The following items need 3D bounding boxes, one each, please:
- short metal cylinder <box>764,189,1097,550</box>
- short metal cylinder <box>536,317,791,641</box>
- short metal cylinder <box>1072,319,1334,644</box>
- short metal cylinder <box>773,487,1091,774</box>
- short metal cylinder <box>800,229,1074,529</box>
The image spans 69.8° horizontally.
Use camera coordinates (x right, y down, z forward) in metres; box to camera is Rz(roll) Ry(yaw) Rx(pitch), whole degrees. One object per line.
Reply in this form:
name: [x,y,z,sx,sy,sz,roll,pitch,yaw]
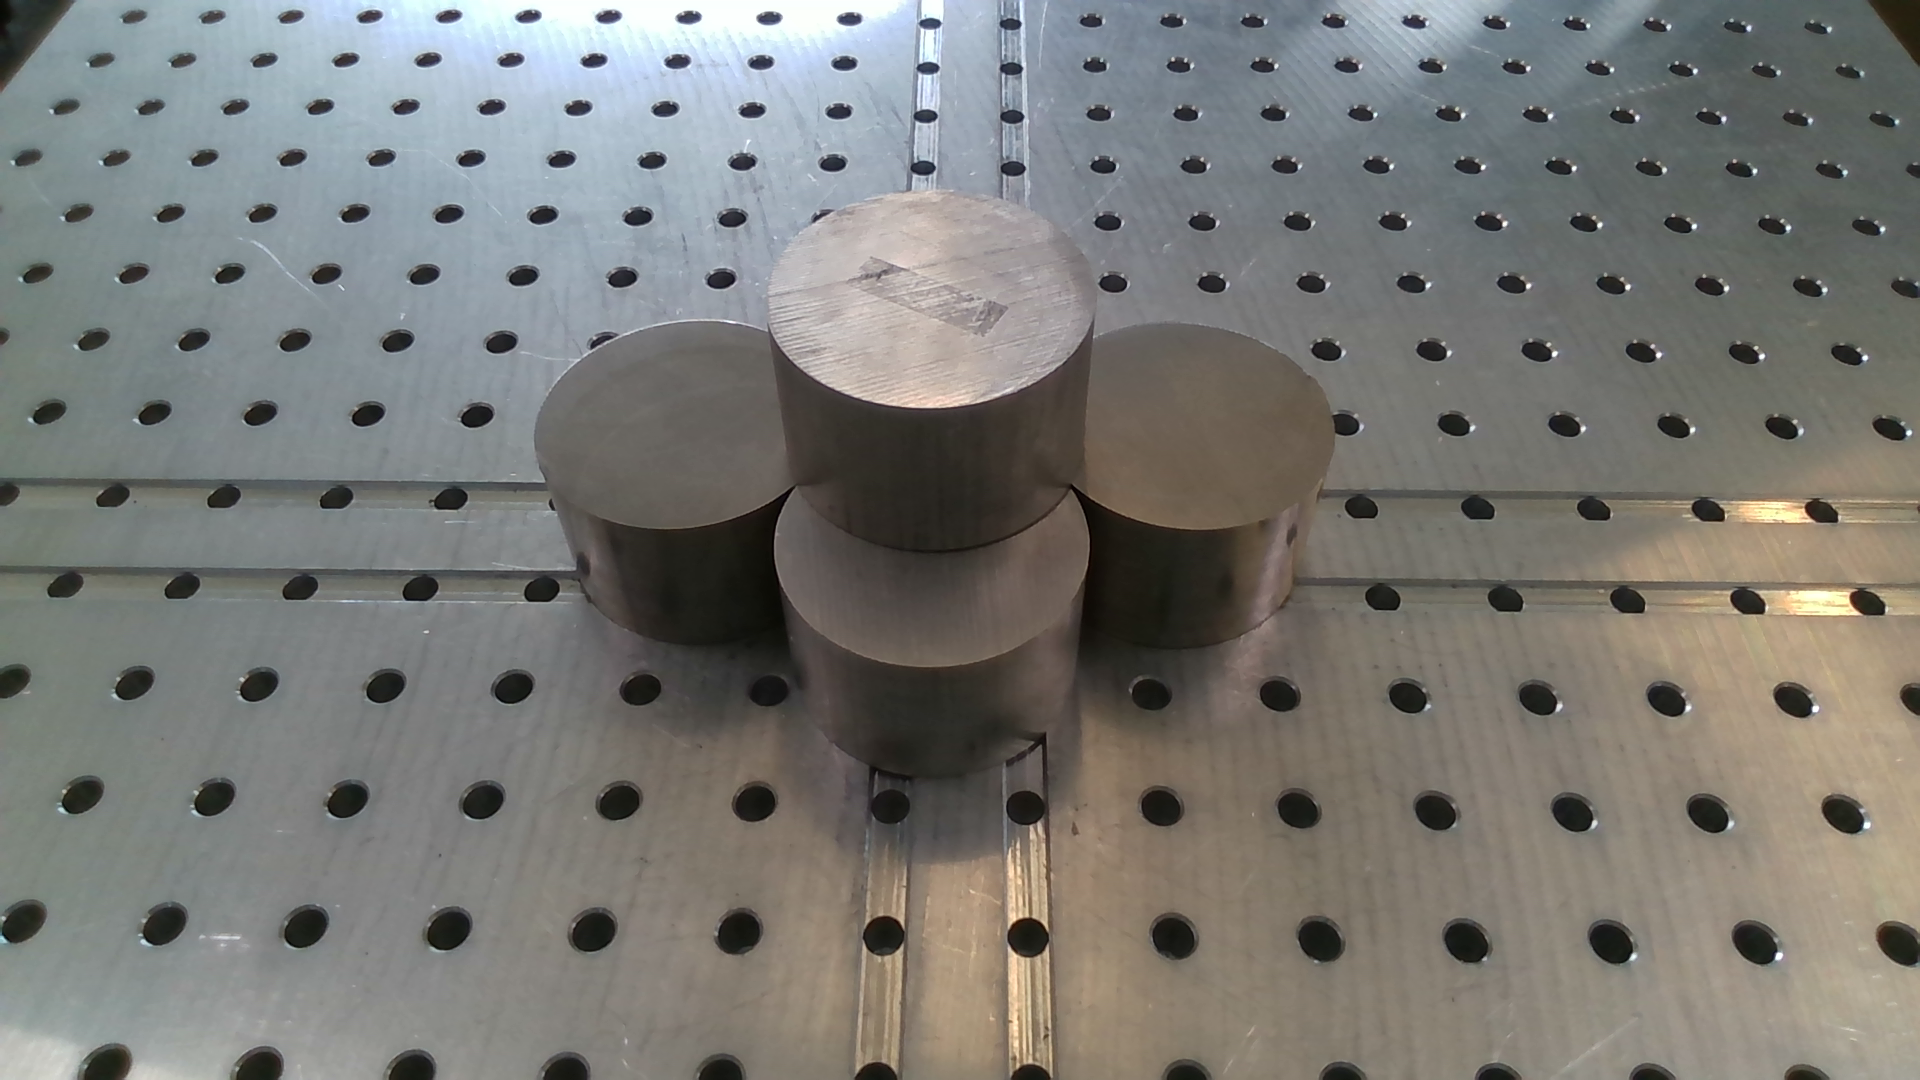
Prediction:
short metal cylinder: [-0.007,-0.044,0.351,0.080,0.050,0.080,0,50,0]
short metal cylinder: [-0.075,-0.018,0.395,0.080,0.050,0.080,1,50,-2]
short metal cylinder: [0.061,-0.018,0.394,0.080,0.050,0.080,0,51,0]
short metal cylinder: [-0.007,0.015,0.367,0.080,0.050,0.080,0,50,0]
short metal cylinder: [-0.007,-0.050,0.422,0.080,0.050,0.080,0,50,0]
